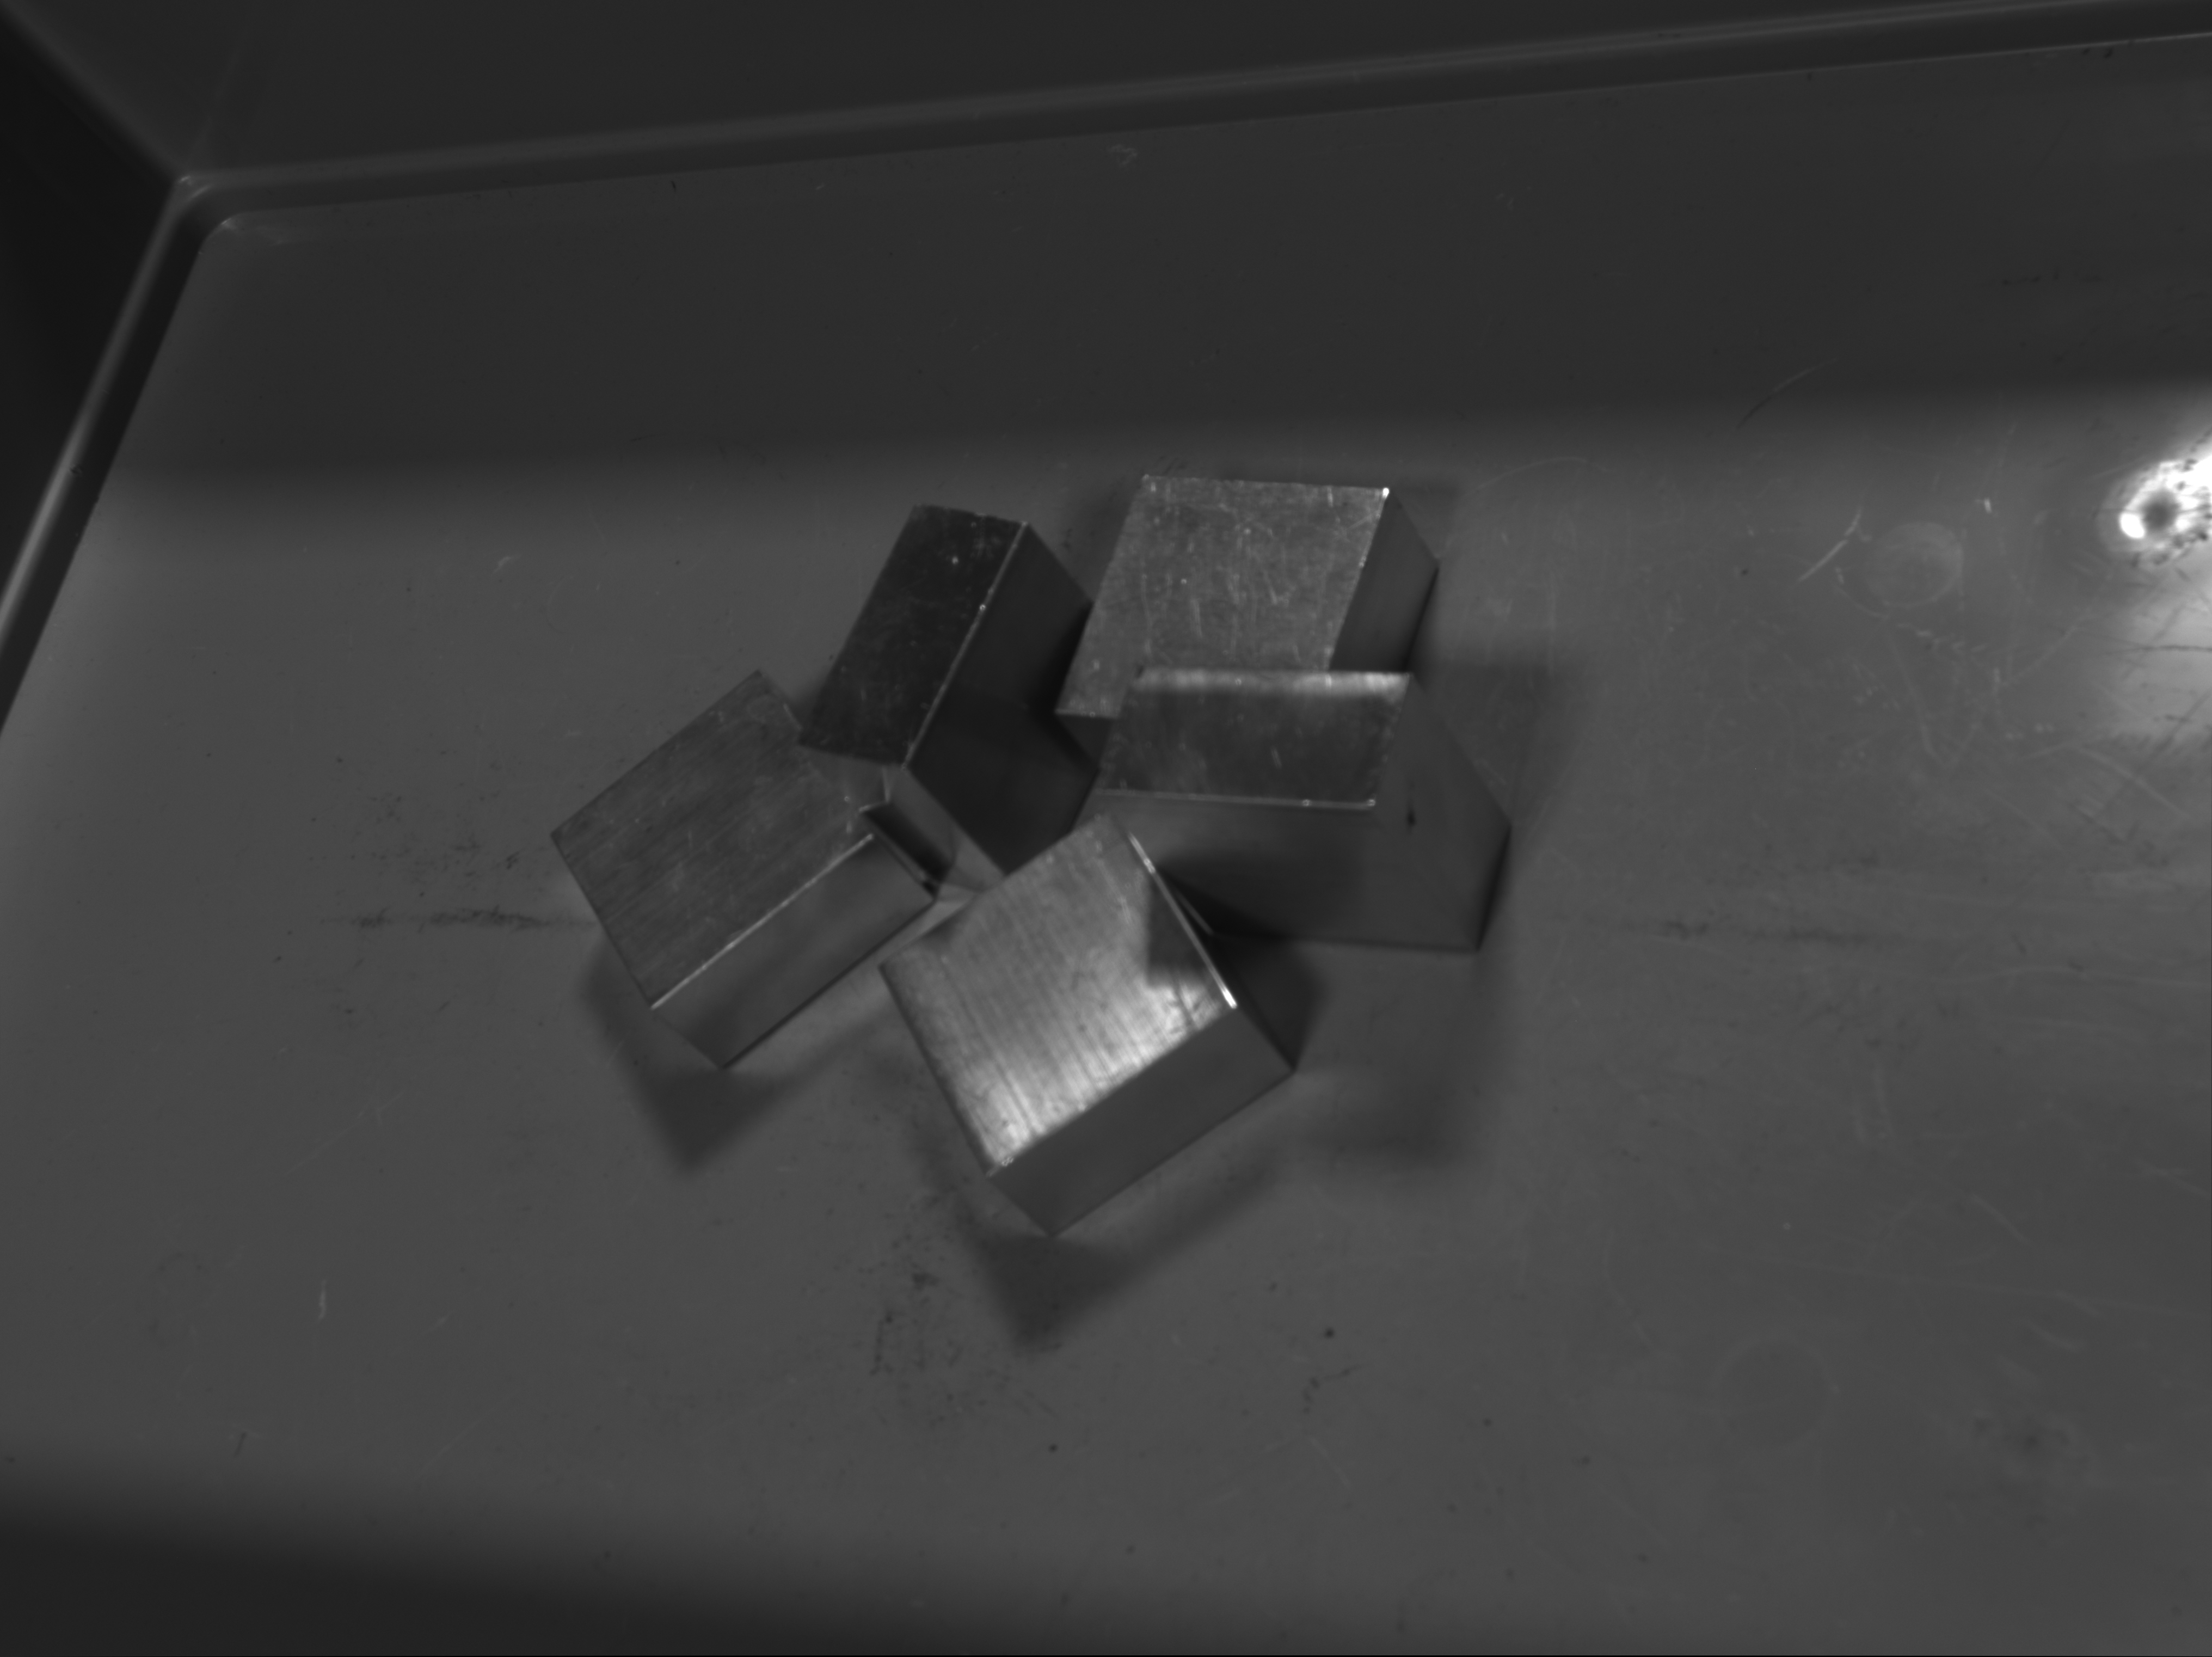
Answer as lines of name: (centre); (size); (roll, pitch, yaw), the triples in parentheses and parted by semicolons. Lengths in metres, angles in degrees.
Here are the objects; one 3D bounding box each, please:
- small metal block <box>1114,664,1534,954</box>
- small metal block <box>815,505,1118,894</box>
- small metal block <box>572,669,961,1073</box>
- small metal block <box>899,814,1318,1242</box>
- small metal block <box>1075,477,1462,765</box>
small metal block: (0.037, -0.003, 0.608); (0.050, 0.050, 0.025); (3, 63, 30)
small metal block: (-0.019, -0.021, 0.649); (0.025, 0.050, 0.050); (13, 68, 34)
small metal block: (-0.063, 0.007, 0.672); (0.050, 0.025, 0.050); (-38, 51, 2)
small metal block: (0.000, 0.033, 0.622); (0.050, 0.025, 0.050); (-35, 51, 5)
small metal block: (0.029, -0.033, 0.647); (0.050, 0.025, 0.050); (7, 65, 31)
